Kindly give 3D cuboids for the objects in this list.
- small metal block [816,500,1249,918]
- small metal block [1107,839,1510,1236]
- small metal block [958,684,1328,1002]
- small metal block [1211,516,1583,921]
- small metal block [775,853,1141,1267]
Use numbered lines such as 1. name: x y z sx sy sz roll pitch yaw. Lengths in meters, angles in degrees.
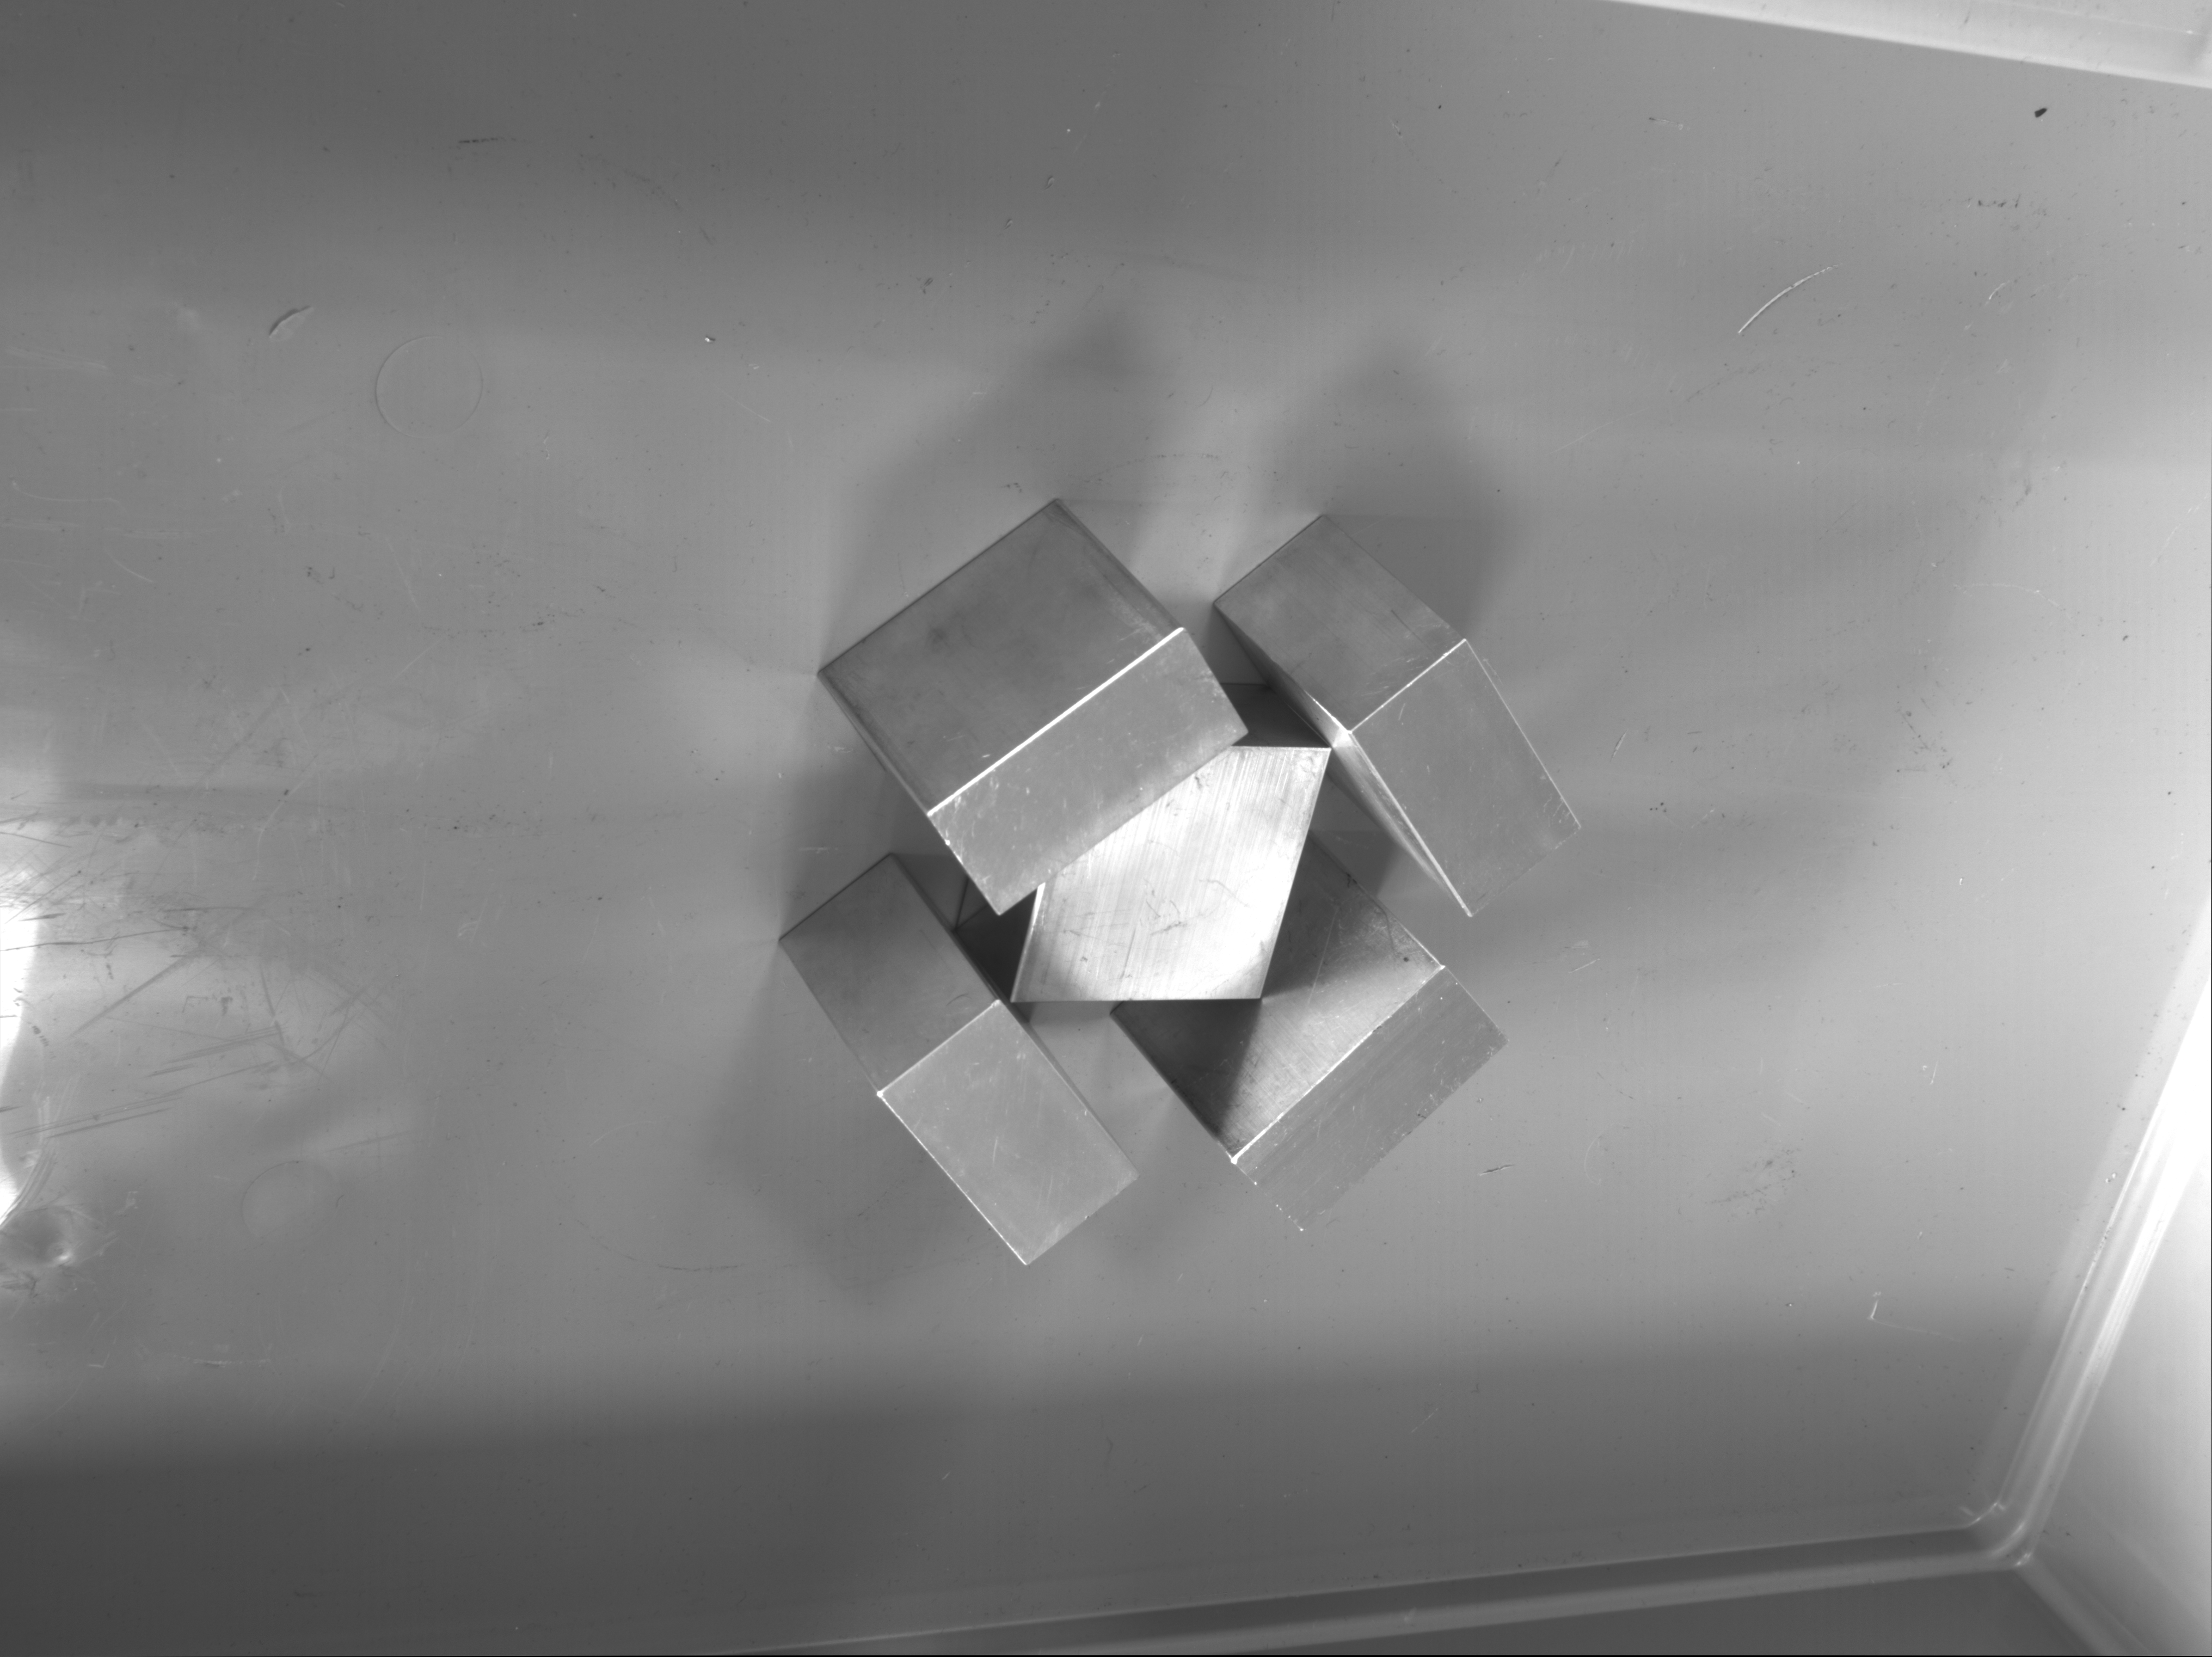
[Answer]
1. small metal block: -0.013 -0.020 0.600 0.050 0.050 0.025 -36 128 -4
2. small metal block: 0.036 0.036 0.660 0.050 0.050 0.025 -43 130 0
3. small metal block: 0.006 0.002 0.640 0.050 0.025 0.050 1 118 -29
4. small metal block: 0.050 -0.019 0.634 0.025 0.050 0.050 -39 130 -3
5. small metal block: -0.026 0.040 0.630 0.025 0.050 0.050 -38 129 -2
